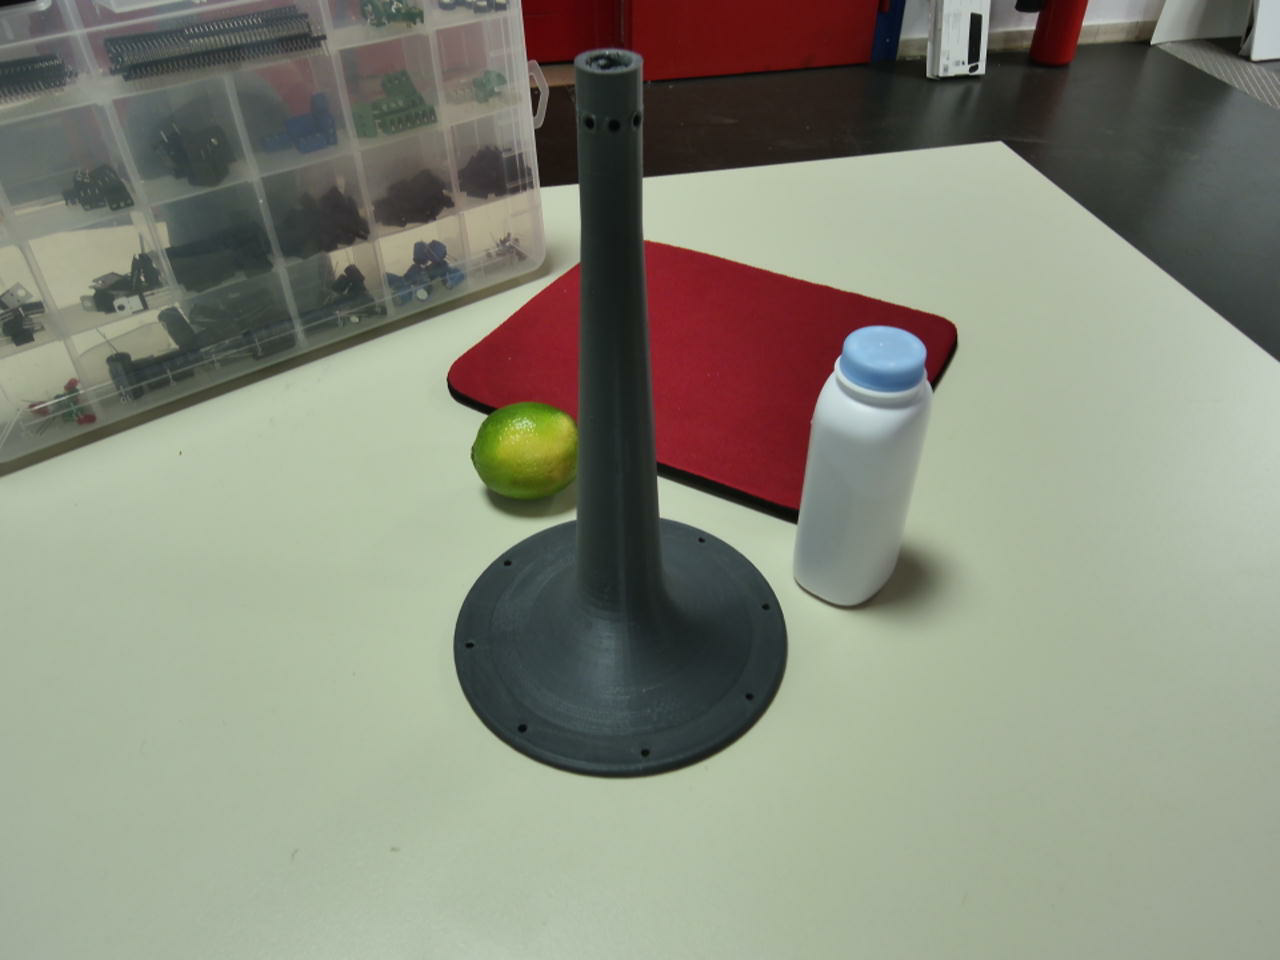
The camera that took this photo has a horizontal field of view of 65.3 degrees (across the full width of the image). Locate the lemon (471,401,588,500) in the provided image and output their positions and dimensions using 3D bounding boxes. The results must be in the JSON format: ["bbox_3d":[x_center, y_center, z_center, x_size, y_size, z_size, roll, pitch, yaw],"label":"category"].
[{"bbox_3d":[-0.058,-0.015,0.522,0.055,0.050,0.054,27,45,28],"label":"lemon"}]
